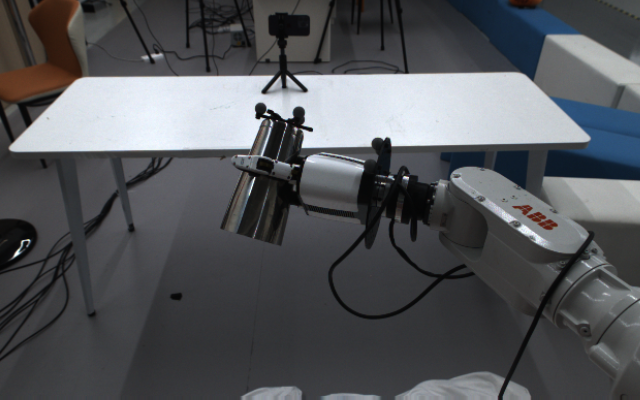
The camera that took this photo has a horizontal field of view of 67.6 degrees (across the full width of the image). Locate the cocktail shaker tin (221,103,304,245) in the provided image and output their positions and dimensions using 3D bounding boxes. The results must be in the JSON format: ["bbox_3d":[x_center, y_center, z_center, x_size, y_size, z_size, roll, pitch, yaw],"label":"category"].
[{"bbox_3d":[-0.079,-0.027,0.710,0.093,0.170,0.093,15,-6,2],"label":"cocktail shaker tin"}]
